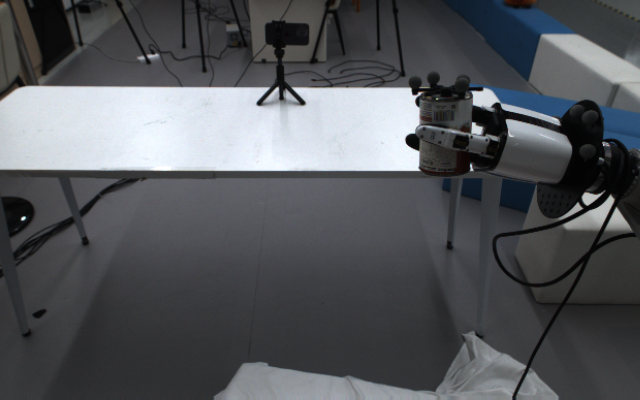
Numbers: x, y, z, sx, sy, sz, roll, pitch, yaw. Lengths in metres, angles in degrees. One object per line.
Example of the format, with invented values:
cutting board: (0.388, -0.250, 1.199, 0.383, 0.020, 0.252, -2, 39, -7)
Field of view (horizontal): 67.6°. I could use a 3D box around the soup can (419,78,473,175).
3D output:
soup can: (0.166, -0.090, 0.639, 0.067, 0.101, 0.067, -4, 21, 1)
